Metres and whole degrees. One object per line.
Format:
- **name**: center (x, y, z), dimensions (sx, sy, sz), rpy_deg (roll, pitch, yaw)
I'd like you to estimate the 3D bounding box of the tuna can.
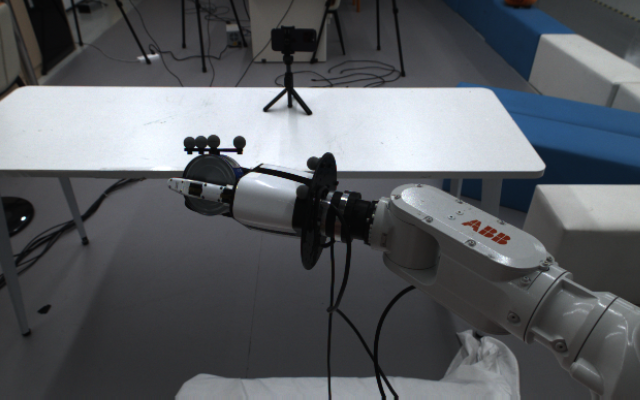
- **tuna can**: center (-0.148, -0.021, 0.680), dimensions (0.085, 0.085, 0.034), rpy_deg (15, 9, 18)
